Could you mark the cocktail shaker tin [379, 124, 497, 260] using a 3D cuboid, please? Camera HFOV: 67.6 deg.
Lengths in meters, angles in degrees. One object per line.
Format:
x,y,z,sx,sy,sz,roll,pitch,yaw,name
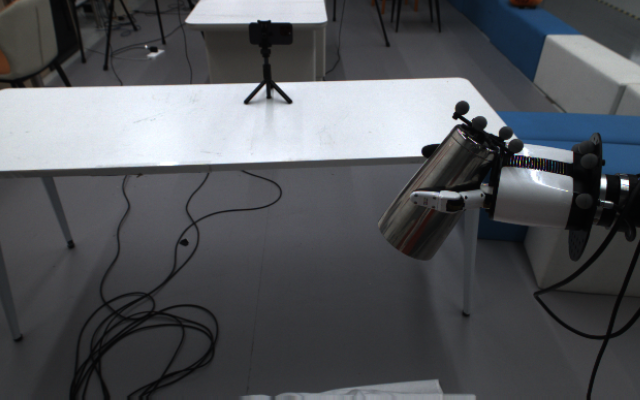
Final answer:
0.161,-0.017,0.649,0.093,0.170,0.093,25,29,-15,cocktail shaker tin
